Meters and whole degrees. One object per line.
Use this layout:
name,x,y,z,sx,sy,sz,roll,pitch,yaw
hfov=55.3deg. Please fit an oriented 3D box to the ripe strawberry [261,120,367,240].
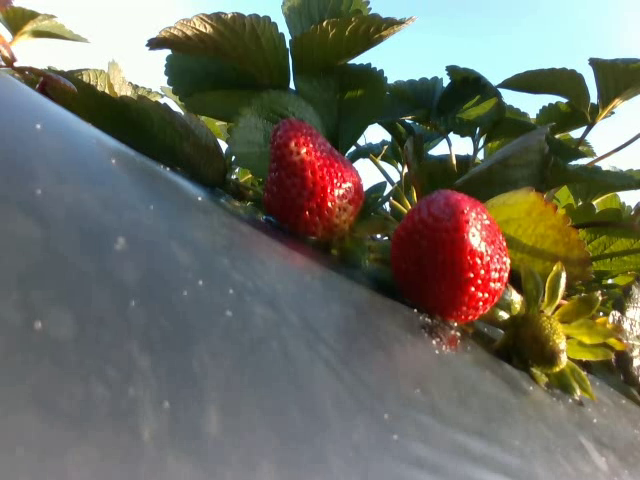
ripe strawberry,-0.003,-0.022,0.228,0.039,0.054,0.048,-25,21,23

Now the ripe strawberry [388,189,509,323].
ripe strawberry,0.042,0.000,0.179,0.038,0.043,0.053,-39,-15,-9
